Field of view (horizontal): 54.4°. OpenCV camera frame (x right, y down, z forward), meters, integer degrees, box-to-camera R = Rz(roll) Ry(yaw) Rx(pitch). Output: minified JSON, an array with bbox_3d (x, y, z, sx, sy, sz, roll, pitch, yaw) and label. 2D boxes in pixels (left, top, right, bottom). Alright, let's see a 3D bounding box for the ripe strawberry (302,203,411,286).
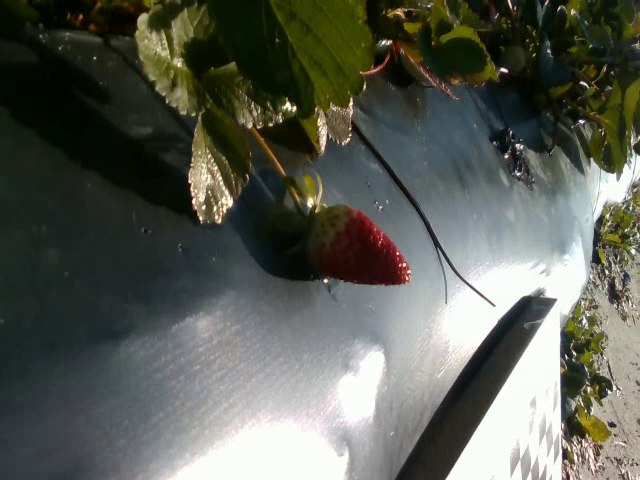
[{"bbox_3d":[0.014,0.004,0.199,0.041,0.028,0.031,27,-38,8],"label":"ripe strawberry"}]
